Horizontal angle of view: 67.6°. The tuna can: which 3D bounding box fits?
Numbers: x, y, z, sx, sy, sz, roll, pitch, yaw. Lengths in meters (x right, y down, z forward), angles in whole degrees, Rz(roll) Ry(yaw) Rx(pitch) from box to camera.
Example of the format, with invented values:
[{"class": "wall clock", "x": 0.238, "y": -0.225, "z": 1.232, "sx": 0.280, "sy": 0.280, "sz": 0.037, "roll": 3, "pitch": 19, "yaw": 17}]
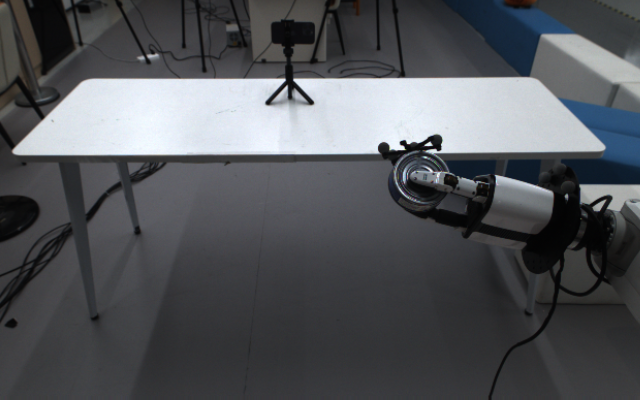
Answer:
[{"class": "tuna can", "x": 0.145, "y": -0.030, "z": 0.696, "sx": 0.085, "sy": 0.034, "sz": 0.085, "roll": 0, "pitch": 72, "yaw": -1}]
